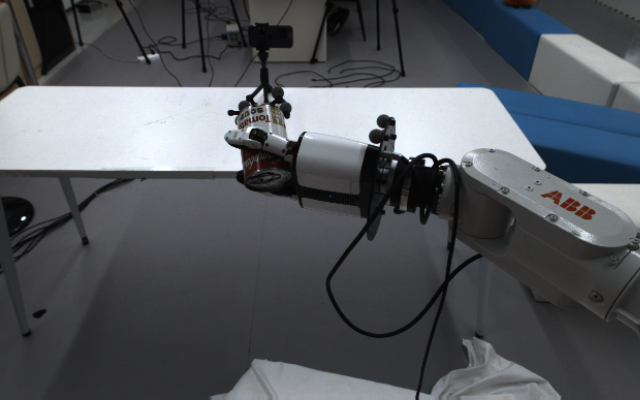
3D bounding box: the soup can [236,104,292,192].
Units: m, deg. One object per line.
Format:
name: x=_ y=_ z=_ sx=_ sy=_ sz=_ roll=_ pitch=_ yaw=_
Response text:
soup can: x=-0.075 y=-0.070 z=0.658 sx=0.067 sy=0.067 sz=0.101 roll=-6 pitch=67 yaw=-12
